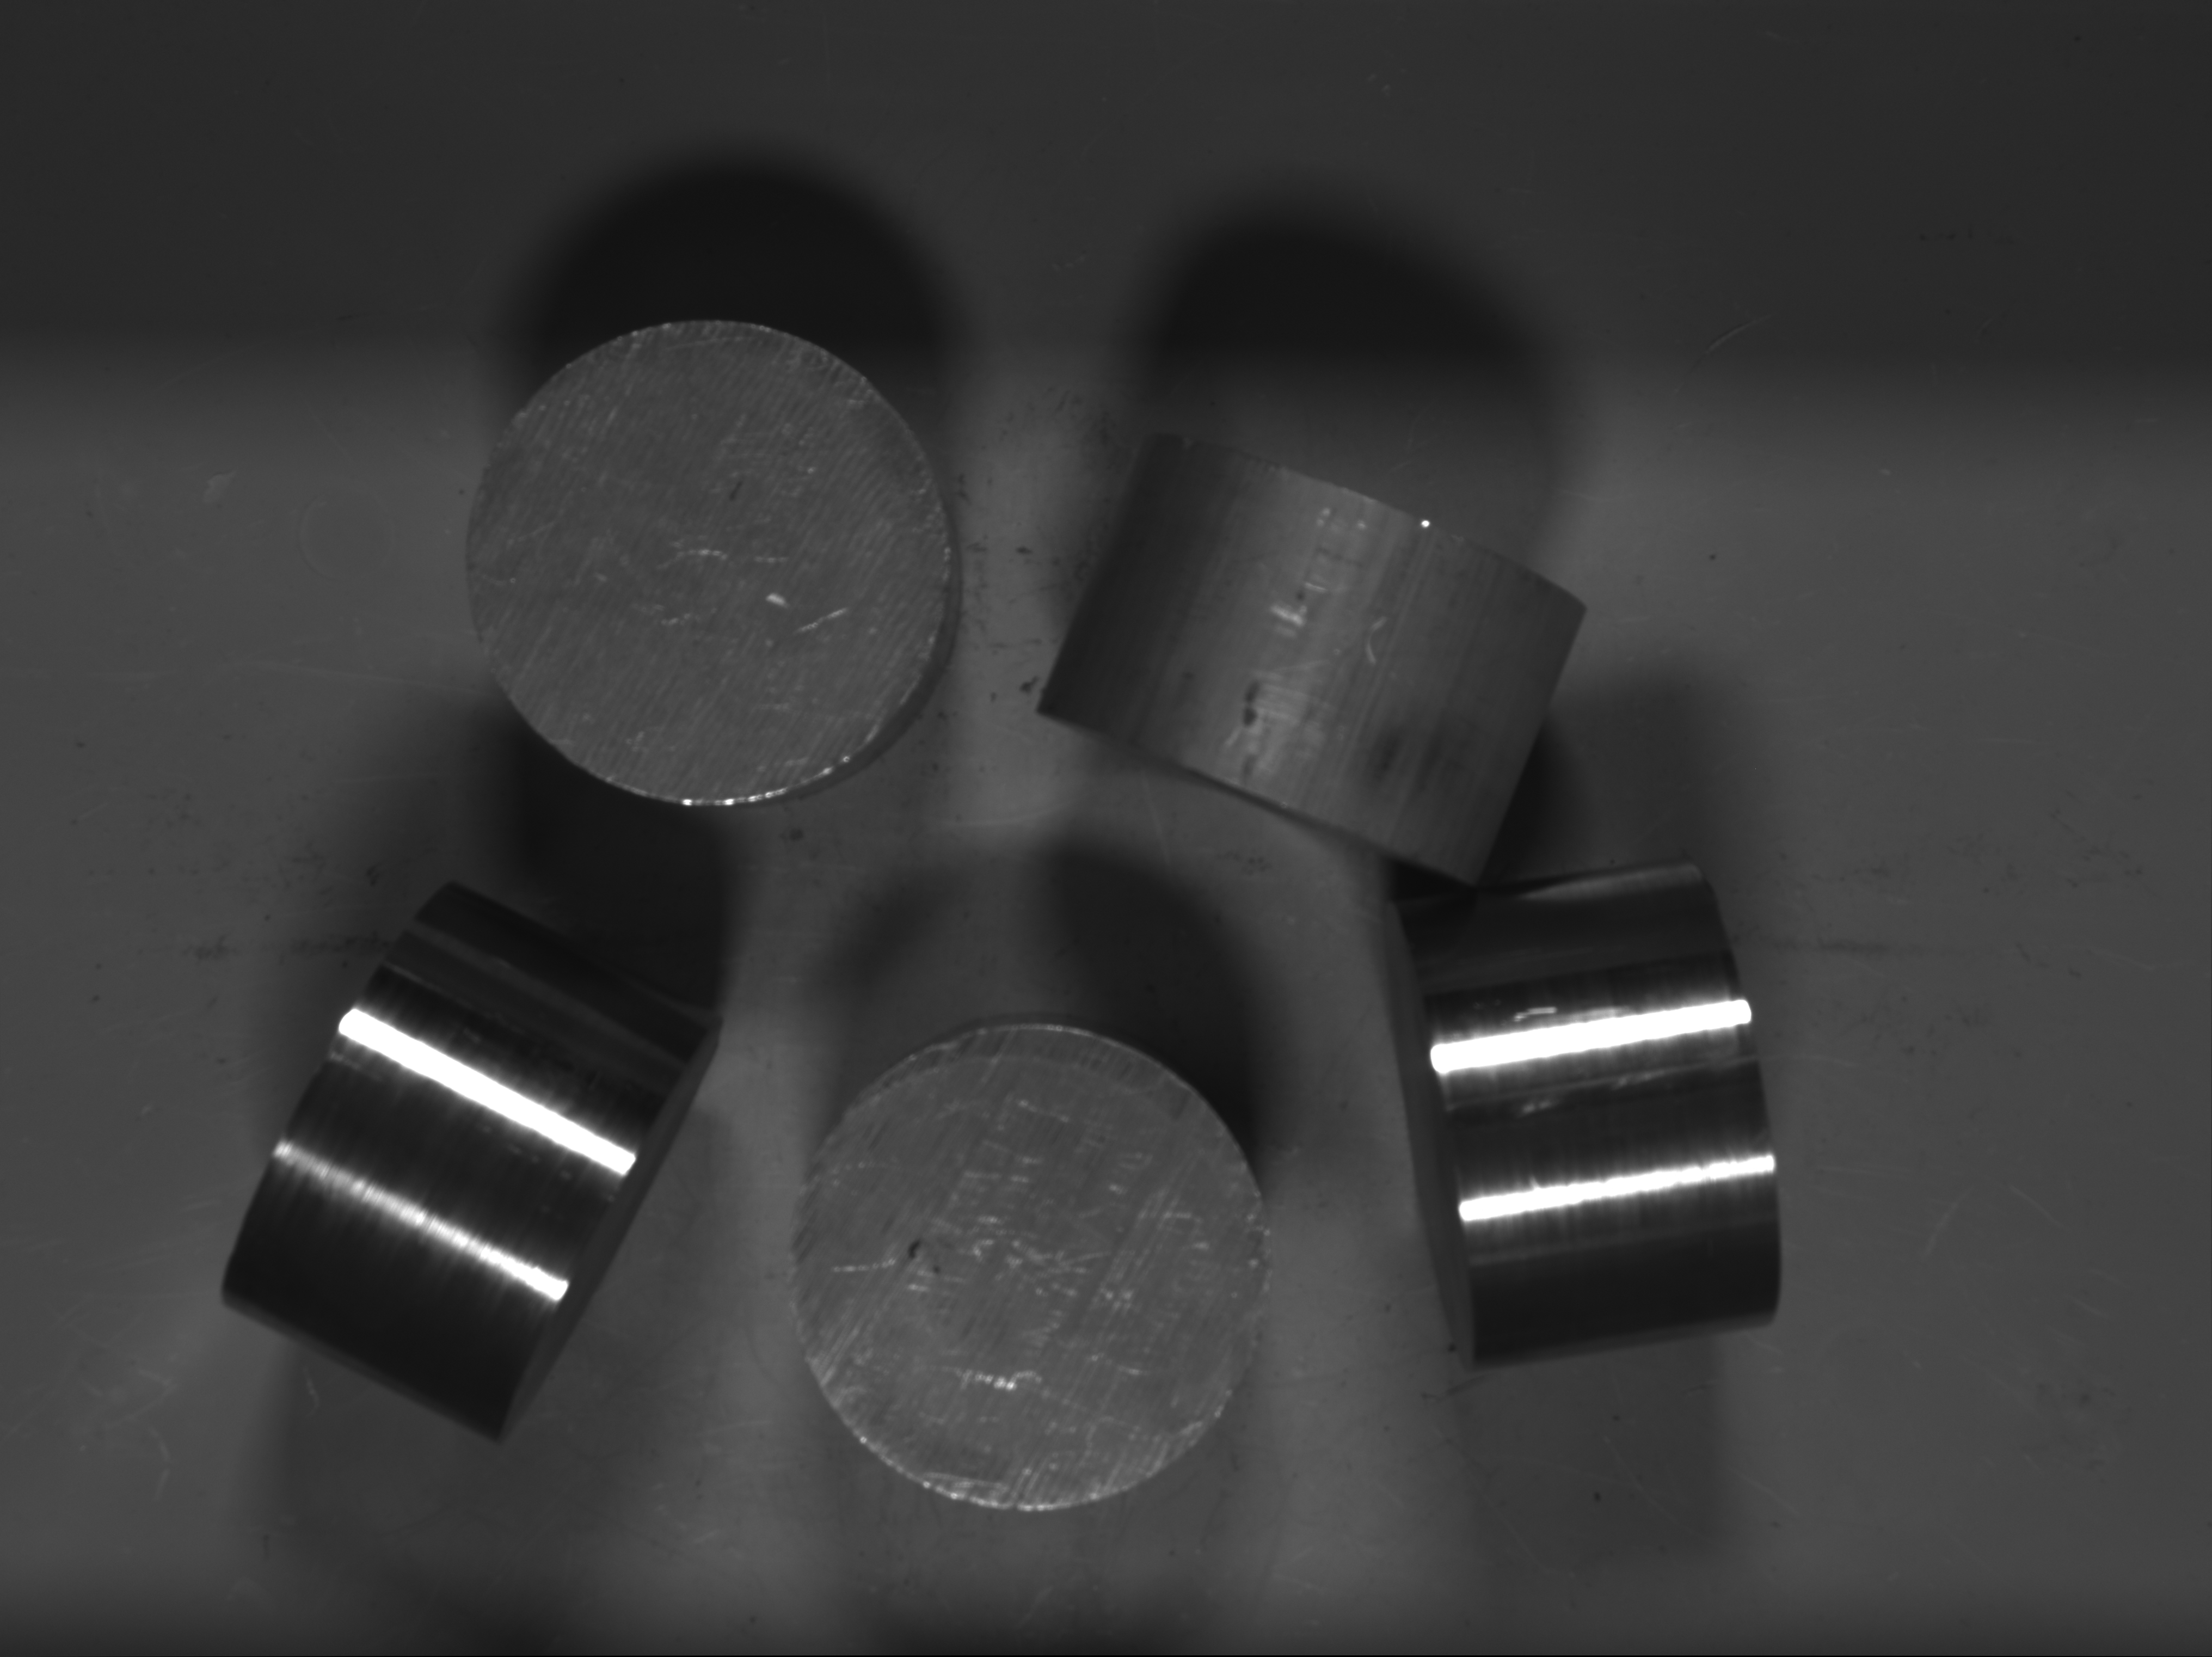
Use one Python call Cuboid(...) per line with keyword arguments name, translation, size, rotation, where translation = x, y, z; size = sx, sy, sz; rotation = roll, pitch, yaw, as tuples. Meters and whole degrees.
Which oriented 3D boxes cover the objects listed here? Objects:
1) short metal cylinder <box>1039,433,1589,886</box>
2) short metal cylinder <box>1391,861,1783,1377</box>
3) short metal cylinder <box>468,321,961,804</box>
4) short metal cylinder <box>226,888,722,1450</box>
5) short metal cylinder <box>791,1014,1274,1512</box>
Cuboid(name="short metal cylinder", translation=(0.035, -0.028, 0.618), size=(0.080, 0.080, 0.050), rotation=(22, 90, 0))
Cuboid(name="short metal cylinder", translation=(0.080, 0.049, 0.617), size=(0.050, 0.080, 0.080), rotation=(-9, 90, 0))
Cuboid(name="short metal cylinder", translation=(-0.066, -0.044, 0.631), size=(0.080, 0.050, 0.080), rotation=(0, 90, 0))
Cuboid(name="short metal cylinder", translation=(-0.105, 0.057, 0.615), size=(0.050, 0.080, 0.080), rotation=(27, 90, 0))
Cuboid(name="short metal cylinder", translation=(-0.012, 0.073, 0.631), size=(0.080, 0.050, 0.080), rotation=(0, 90, 0))
